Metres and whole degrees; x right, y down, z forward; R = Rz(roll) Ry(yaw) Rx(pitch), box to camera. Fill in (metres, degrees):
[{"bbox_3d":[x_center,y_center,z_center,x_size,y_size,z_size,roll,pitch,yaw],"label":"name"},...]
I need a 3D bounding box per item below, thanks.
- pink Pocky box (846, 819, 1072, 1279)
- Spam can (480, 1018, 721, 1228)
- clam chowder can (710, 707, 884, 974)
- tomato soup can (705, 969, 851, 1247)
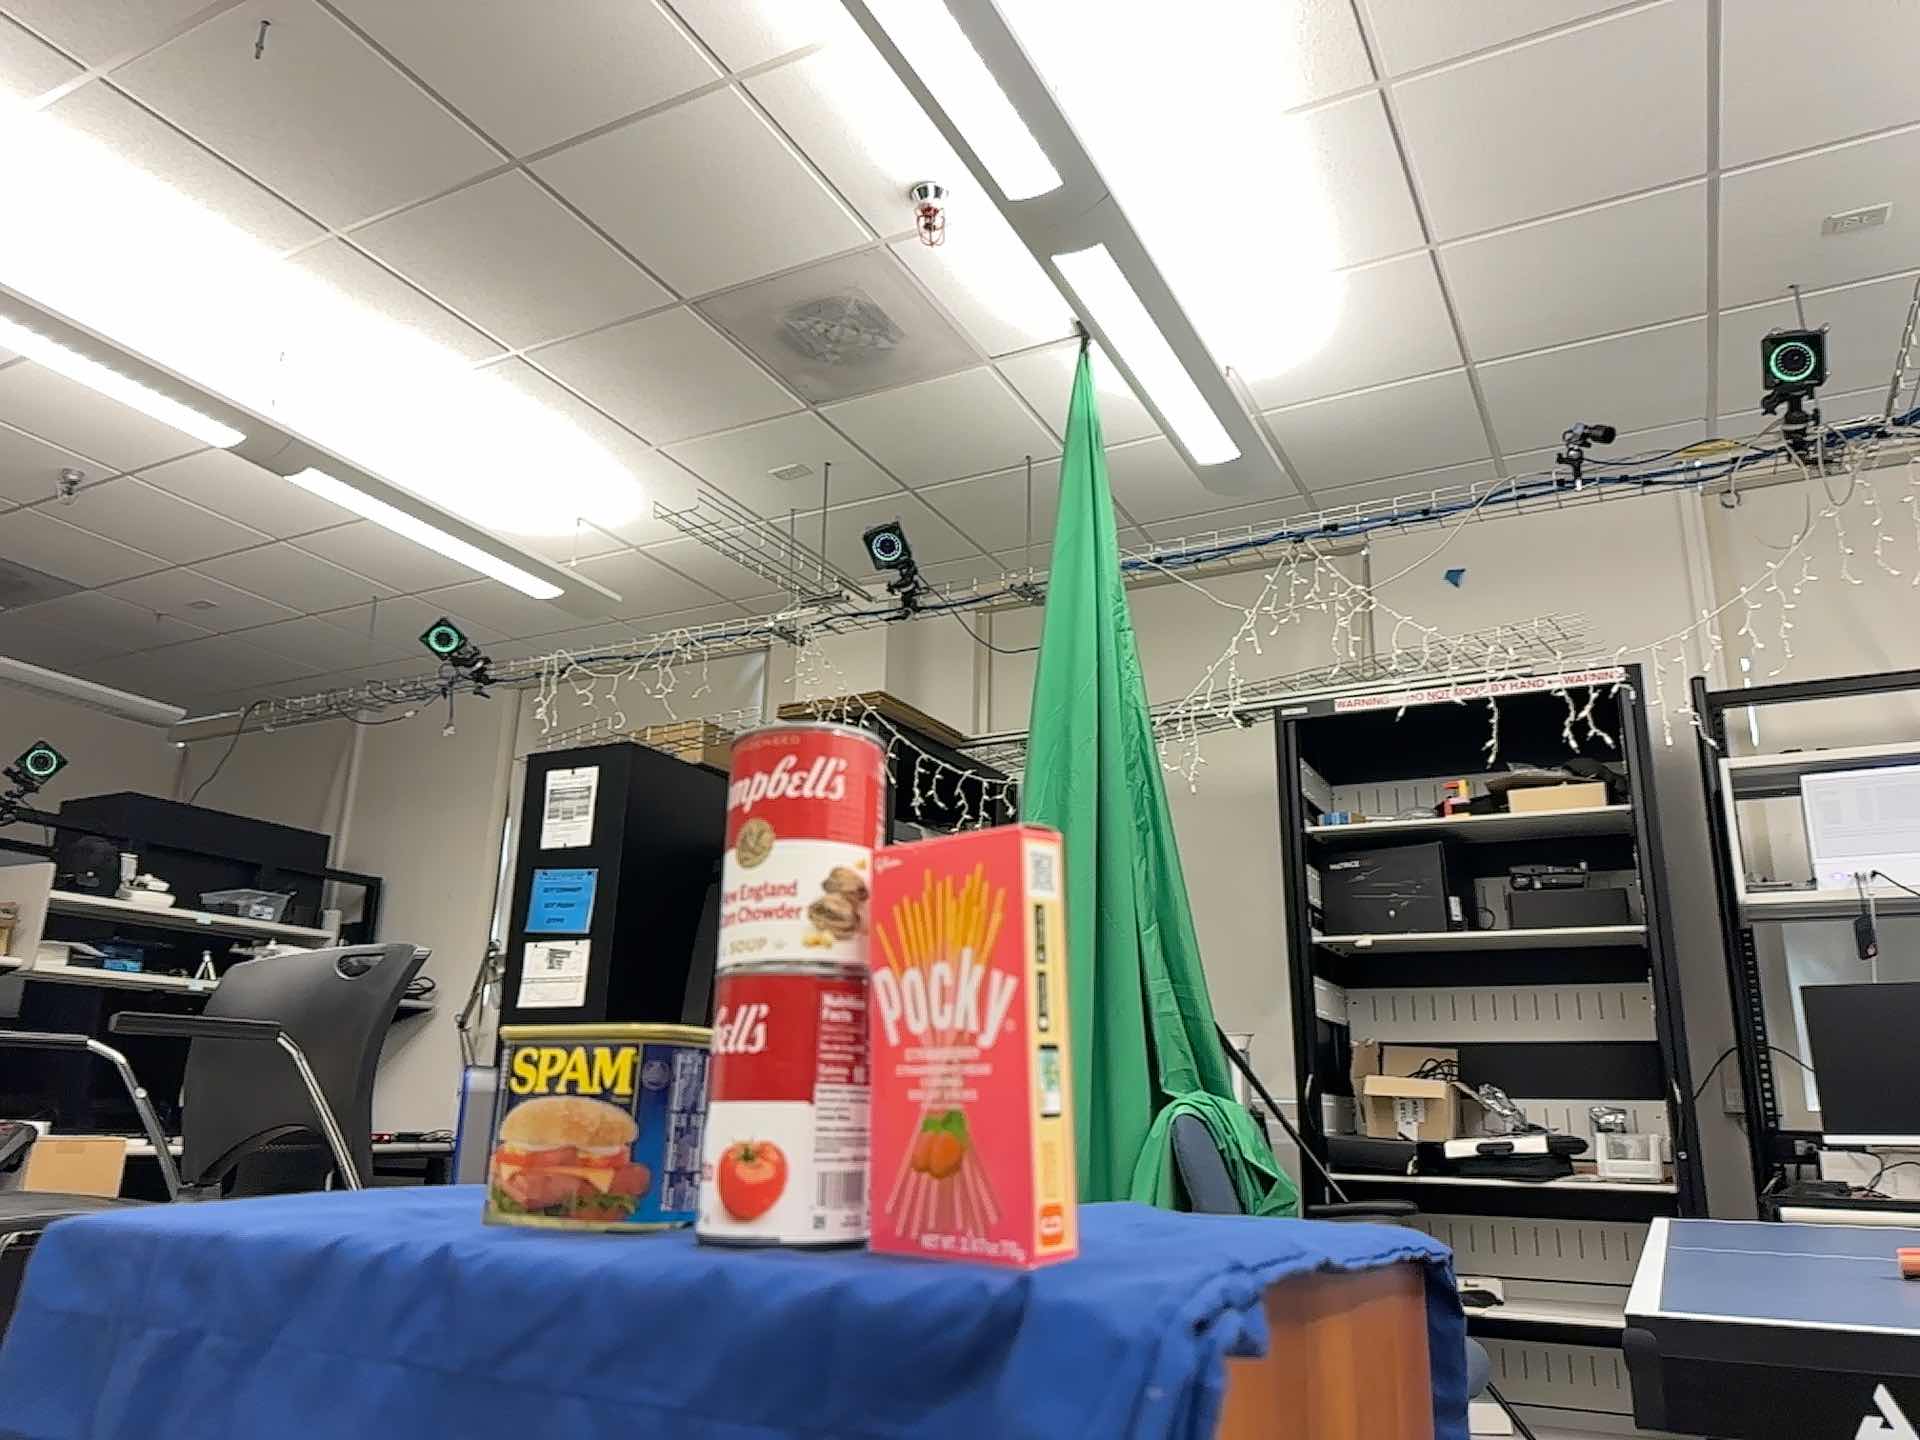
[{"bbox_3d":[-0.003,0.118,0.491,0.084,0.154,0.029,-13,-18,38],"label":"pink Pocky box"},{"bbox_3d":[-0.161,0.177,0.600,0.100,0.083,0.056,-5,-17,27],"label":"Spam can"},{"bbox_3d":[-0.067,0.054,0.562,0.068,0.102,0.068,1,-19,0],"label":"clam chowder can"},{"bbox_3d":[-0.065,0.154,0.539,0.067,0.102,0.067,2,-16,0],"label":"tomato soup can"}]
